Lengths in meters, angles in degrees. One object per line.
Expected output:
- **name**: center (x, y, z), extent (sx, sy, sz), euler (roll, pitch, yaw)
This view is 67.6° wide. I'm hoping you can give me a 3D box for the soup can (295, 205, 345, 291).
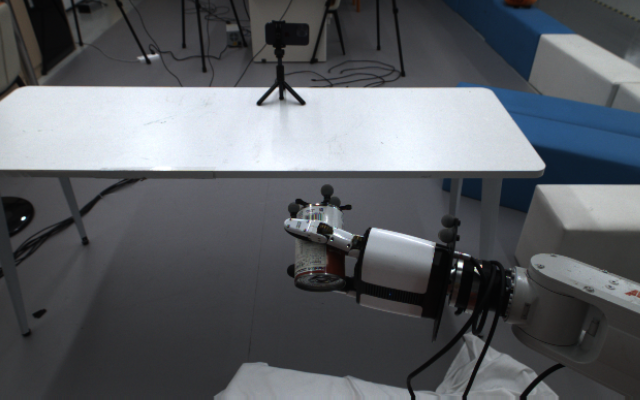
- **soup can**: center (0.002, 0.065, 0.647), extent (0.067, 0.067, 0.101), euler (0, 63, -3)
